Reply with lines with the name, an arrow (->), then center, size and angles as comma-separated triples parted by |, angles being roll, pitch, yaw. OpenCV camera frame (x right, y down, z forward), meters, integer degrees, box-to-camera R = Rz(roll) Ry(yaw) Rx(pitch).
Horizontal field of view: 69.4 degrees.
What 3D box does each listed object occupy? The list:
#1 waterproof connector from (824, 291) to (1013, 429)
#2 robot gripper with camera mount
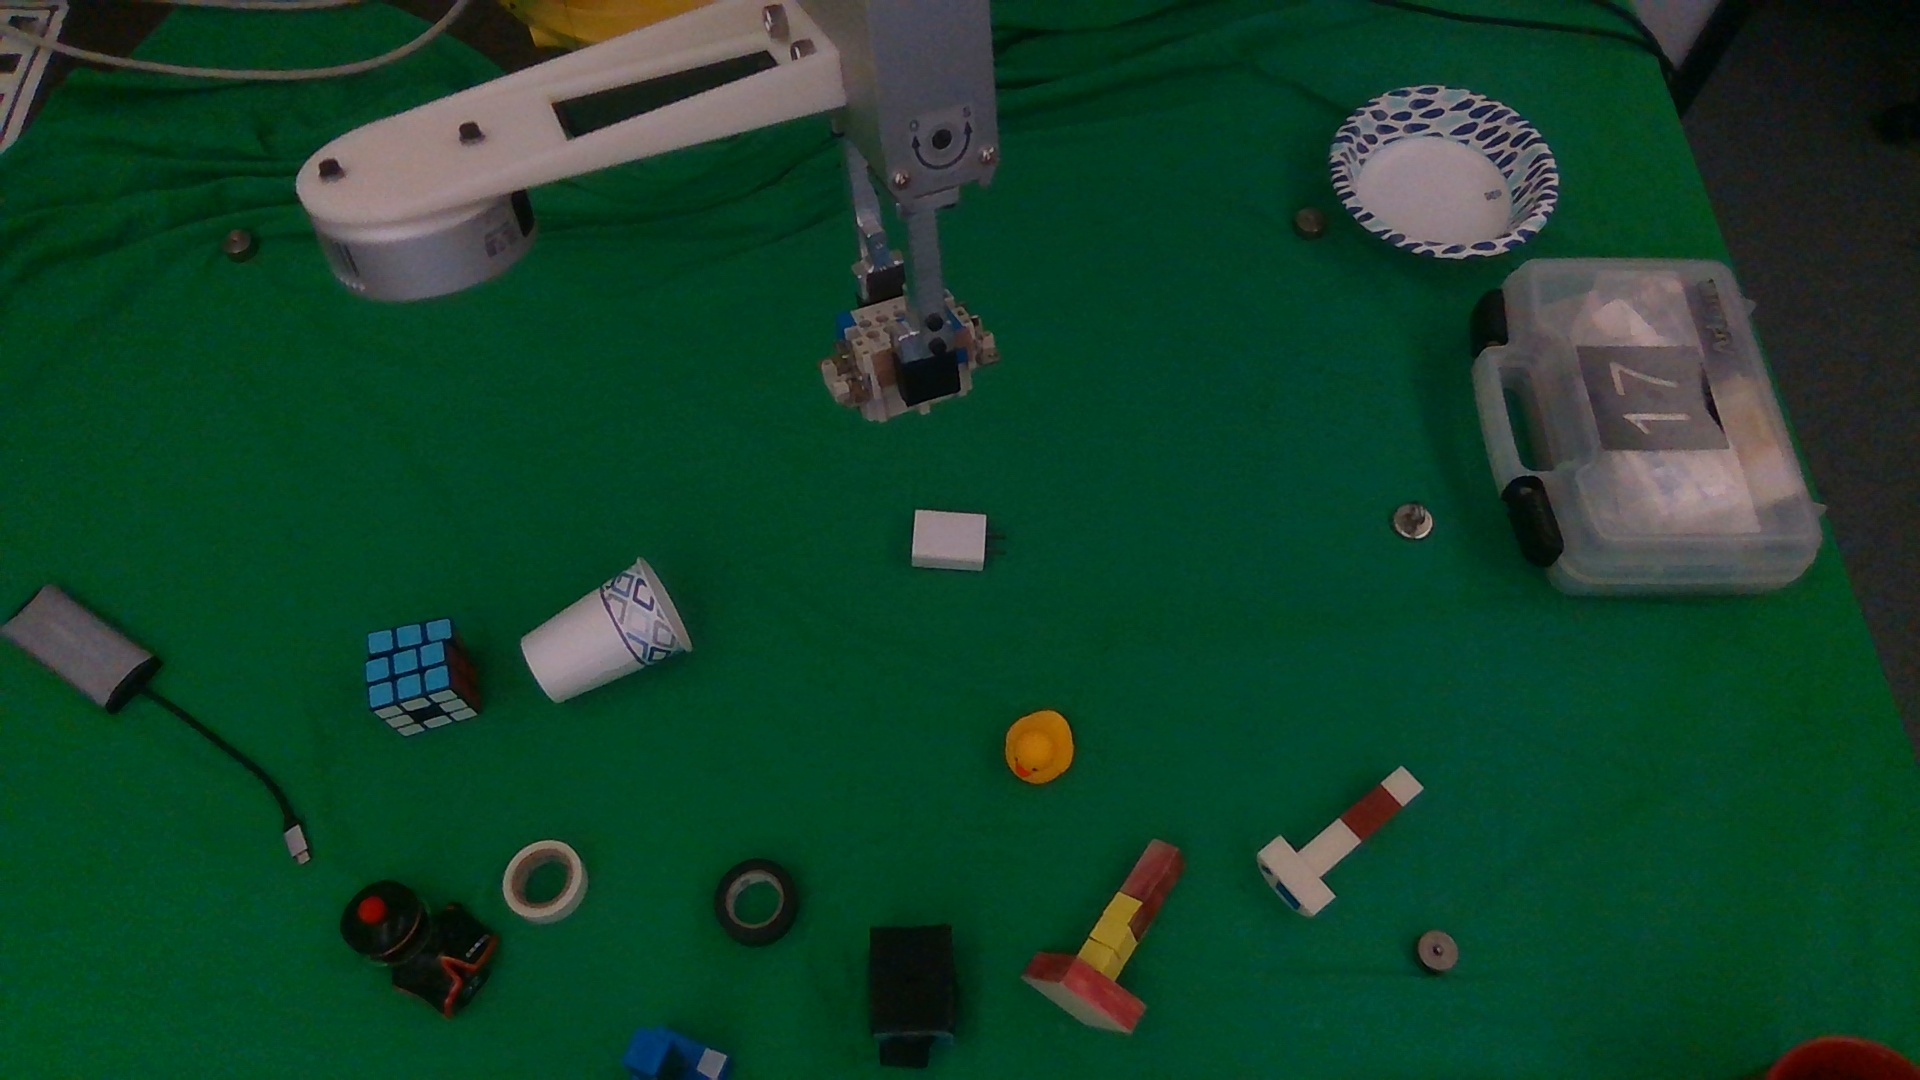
waterproof connector -> -0.016, -0.065, 0.515 | 0.065, 0.037, 0.035 | -19, 41, -16
robot gripper with camera mount -> -0.097, -0.091, 0.443 | 0.193, 0.158, 0.119 | -20, 46, -13
